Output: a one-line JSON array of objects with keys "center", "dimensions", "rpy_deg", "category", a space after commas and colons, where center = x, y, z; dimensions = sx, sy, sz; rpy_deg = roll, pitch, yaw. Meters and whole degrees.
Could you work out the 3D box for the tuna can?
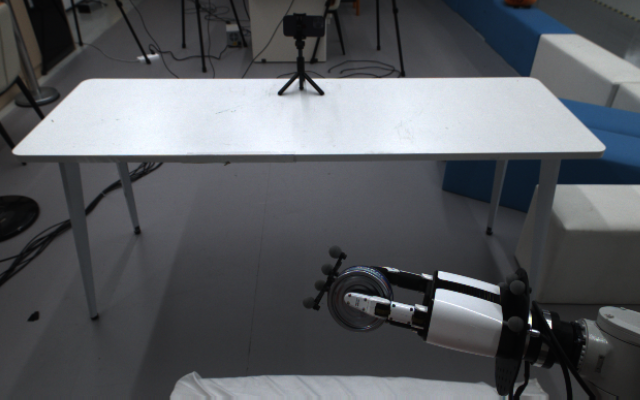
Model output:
[{"center": [0.056, 0.129, 0.646], "dimensions": [0.085, 0.085, 0.034], "rpy_deg": [9, 4, 10], "category": "tuna can"}]
